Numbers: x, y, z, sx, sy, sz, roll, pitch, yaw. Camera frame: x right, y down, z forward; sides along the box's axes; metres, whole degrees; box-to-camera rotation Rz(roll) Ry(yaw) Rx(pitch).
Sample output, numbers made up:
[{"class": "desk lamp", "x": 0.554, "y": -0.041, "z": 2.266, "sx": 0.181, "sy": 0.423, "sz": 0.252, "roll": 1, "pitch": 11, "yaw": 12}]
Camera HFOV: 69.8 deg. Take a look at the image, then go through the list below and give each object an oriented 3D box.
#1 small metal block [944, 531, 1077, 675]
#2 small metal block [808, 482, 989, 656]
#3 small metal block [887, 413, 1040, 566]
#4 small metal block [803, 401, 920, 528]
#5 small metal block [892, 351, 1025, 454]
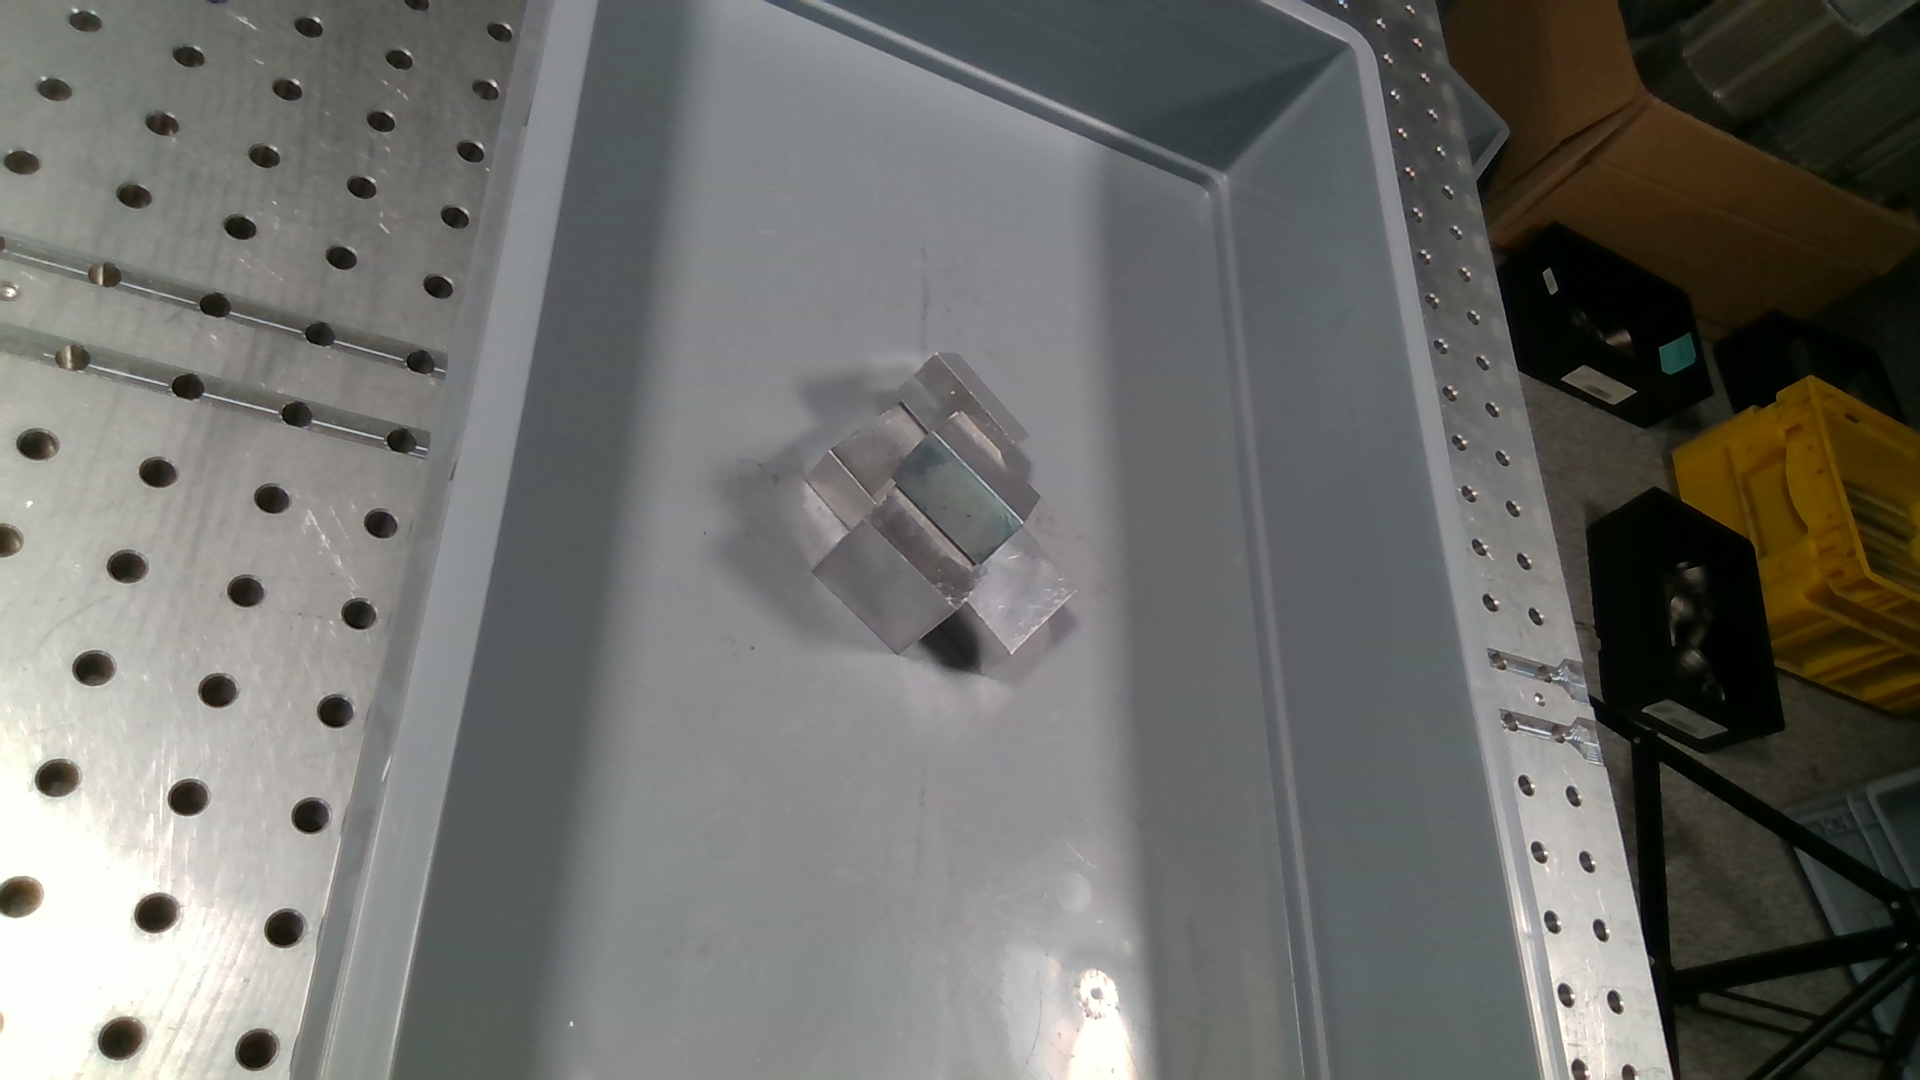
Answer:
[{"class": "small metal block", "x": 0.013, "y": 0.020, "z": 0.582, "sx": 0.050, "sy": 0.025, "sz": 0.050, "roll": 49, "pitch": 51, "yaw": 0}, {"class": "small metal block", "x": -0.025, "y": 0.012, "z": 0.546, "sx": 0.050, "sy": 0.050, "sz": 0.025, "roll": 44, "pitch": 51, "yaw": -4}, {"class": "small metal block", "x": 0.003, "y": -0.022, "z": 0.550, "sx": 0.050, "sy": 0.025, "sz": 0.050, "roll": 46, "pitch": 17, "yaw": -2}, {"class": "small metal block", "x": -0.029, "y": -0.025, "z": 0.580, "sx": 0.050, "sy": 0.025, "sz": 0.050, "roll": 49, "pitch": 51, "yaw": 0}, {"class": "small metal block", "x": 0.001, "y": -0.055, "z": 0.599, "sx": 0.050, "sy": 0.025, "sz": 0.050, "roll": 49, "pitch": 12, "yaw": 1}]
